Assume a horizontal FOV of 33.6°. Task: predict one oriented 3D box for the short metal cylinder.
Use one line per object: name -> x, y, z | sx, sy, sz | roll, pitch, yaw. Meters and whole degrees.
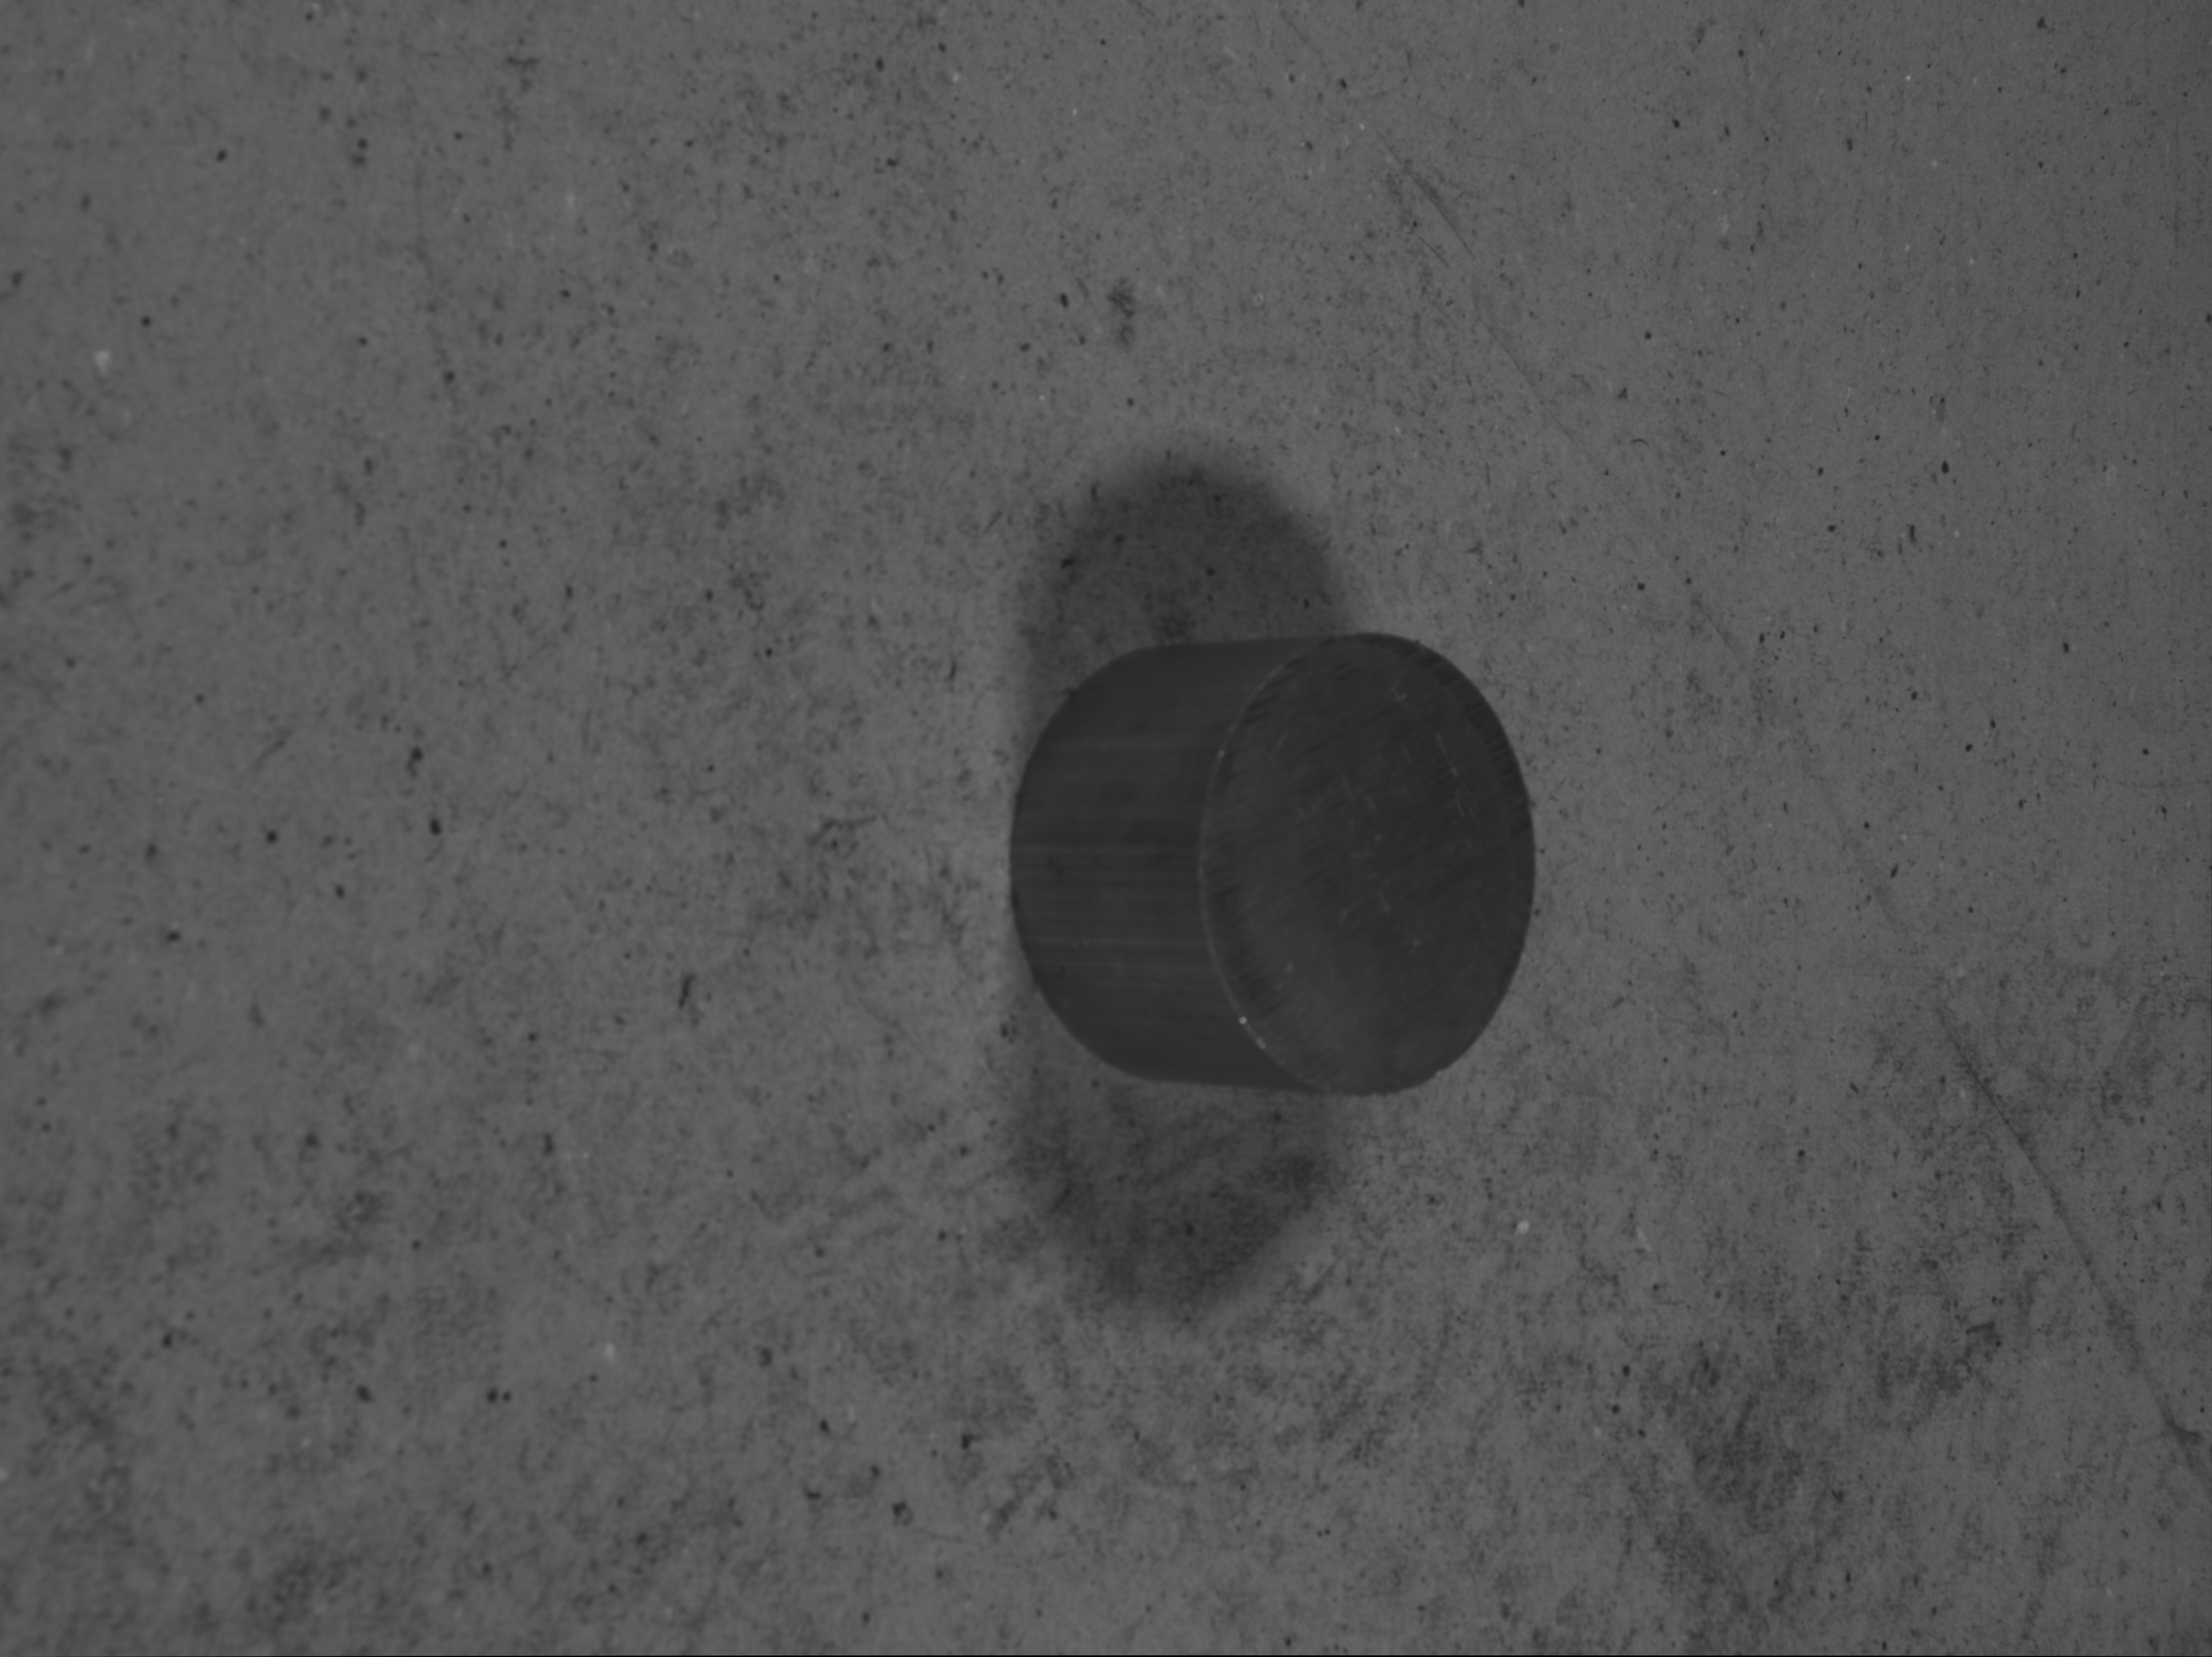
short metal cylinder -> 0.033, 0.006, 0.649 | 0.080, 0.050, 0.080 | 0, 90, -40
